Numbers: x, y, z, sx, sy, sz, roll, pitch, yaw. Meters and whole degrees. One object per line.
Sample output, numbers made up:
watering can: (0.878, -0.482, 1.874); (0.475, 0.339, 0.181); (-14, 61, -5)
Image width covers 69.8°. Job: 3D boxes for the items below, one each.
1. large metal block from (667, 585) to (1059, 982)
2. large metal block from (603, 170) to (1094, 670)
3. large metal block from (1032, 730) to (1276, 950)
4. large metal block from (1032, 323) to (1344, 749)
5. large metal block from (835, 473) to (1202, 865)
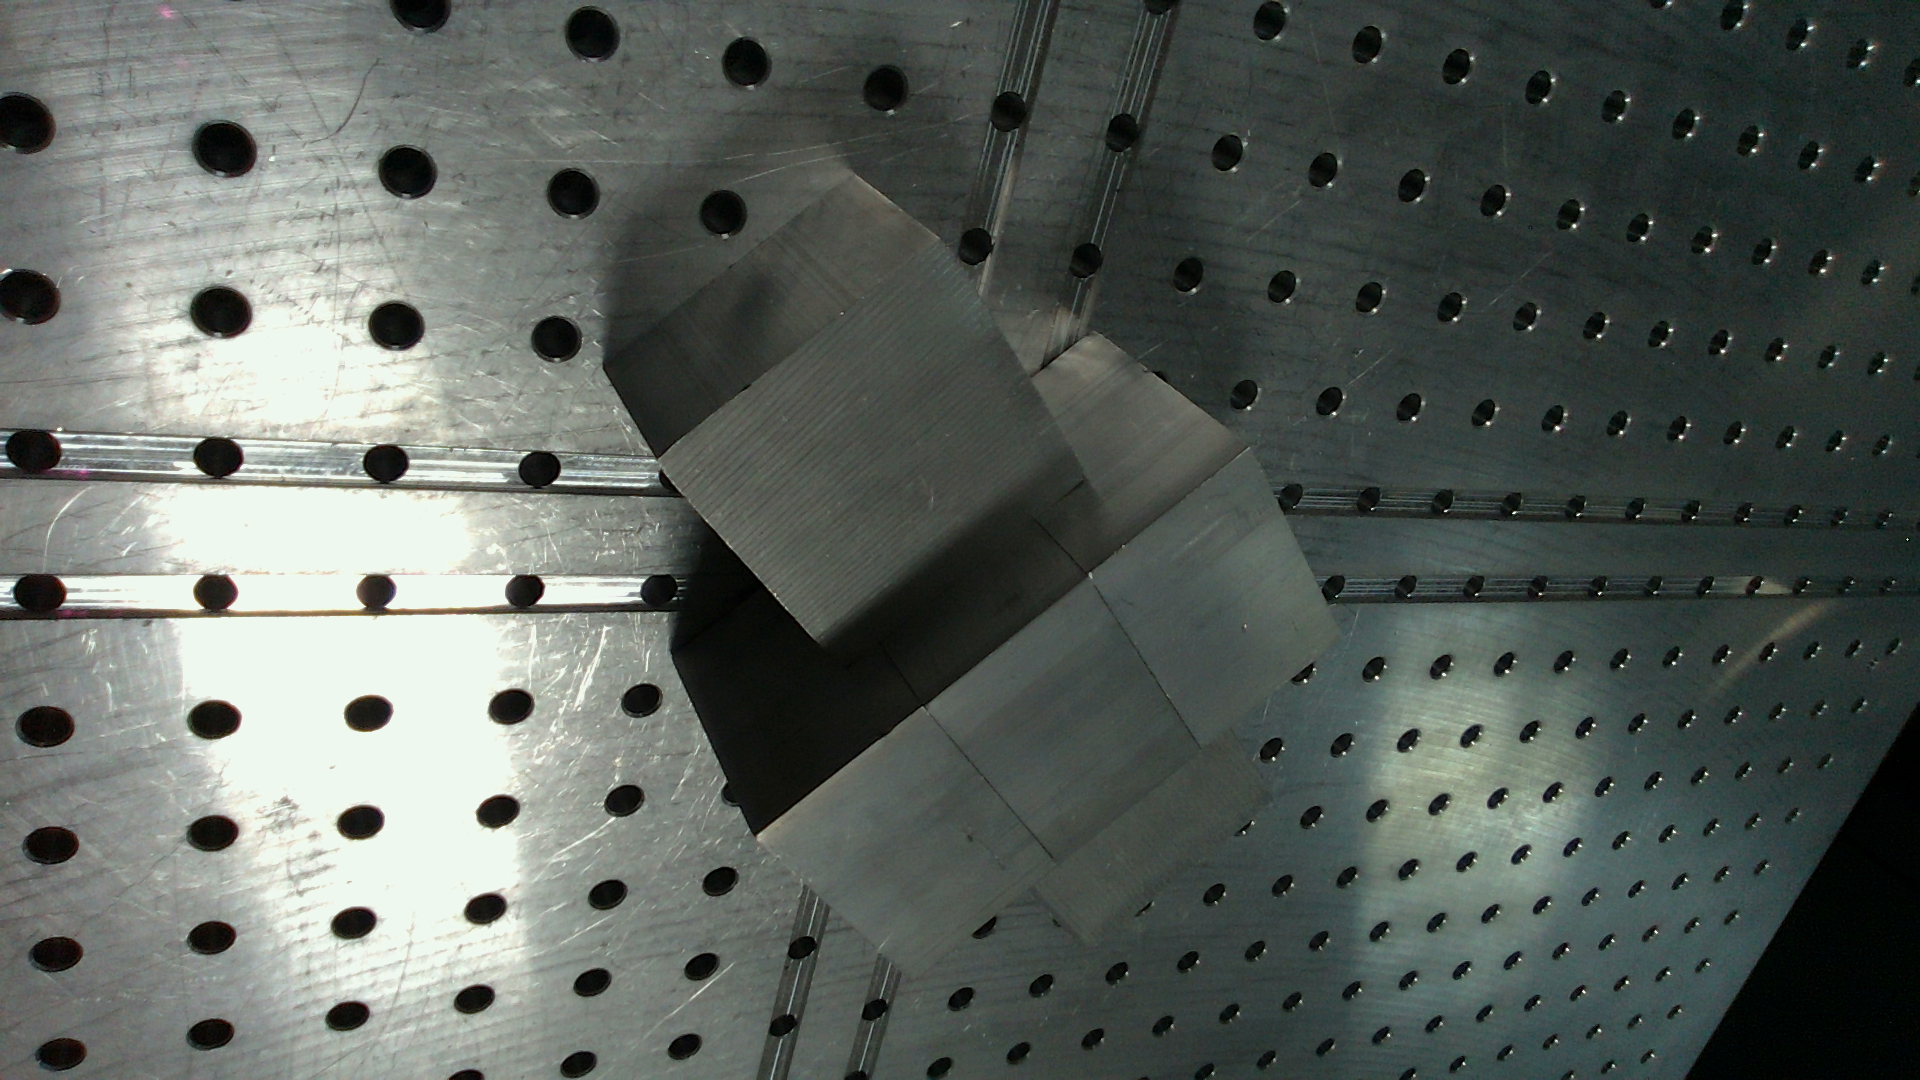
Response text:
large metal block: (-0.027, 0.060, 0.379); (0.050, 0.080, 0.080); (-38, 129, -3)
large metal block: (-0.026, -0.029, 0.341); (0.080, 0.050, 0.080); (-38, 129, -1)
large metal block: (0.044, 0.072, 0.444); (0.080, 0.050, 0.080); (-37, 129, -2)
large metal block: (0.052, -0.002, 0.384); (0.050, 0.080, 0.080); (-38, 129, -3)
large metal block: (0.012, 0.029, 0.381); (0.050, 0.080, 0.080); (-38, 129, -3)
